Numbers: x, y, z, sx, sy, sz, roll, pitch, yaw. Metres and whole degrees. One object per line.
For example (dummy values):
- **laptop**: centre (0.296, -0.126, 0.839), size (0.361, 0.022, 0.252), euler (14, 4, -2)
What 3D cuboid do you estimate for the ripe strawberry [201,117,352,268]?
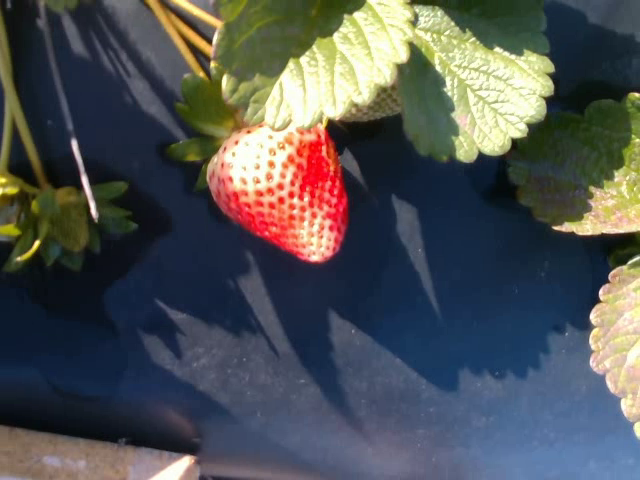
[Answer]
- **ripe strawberry**: centre (-0.006, -0.012, 0.138), size (0.042, 0.045, 0.037), euler (-19, -34, -22)
